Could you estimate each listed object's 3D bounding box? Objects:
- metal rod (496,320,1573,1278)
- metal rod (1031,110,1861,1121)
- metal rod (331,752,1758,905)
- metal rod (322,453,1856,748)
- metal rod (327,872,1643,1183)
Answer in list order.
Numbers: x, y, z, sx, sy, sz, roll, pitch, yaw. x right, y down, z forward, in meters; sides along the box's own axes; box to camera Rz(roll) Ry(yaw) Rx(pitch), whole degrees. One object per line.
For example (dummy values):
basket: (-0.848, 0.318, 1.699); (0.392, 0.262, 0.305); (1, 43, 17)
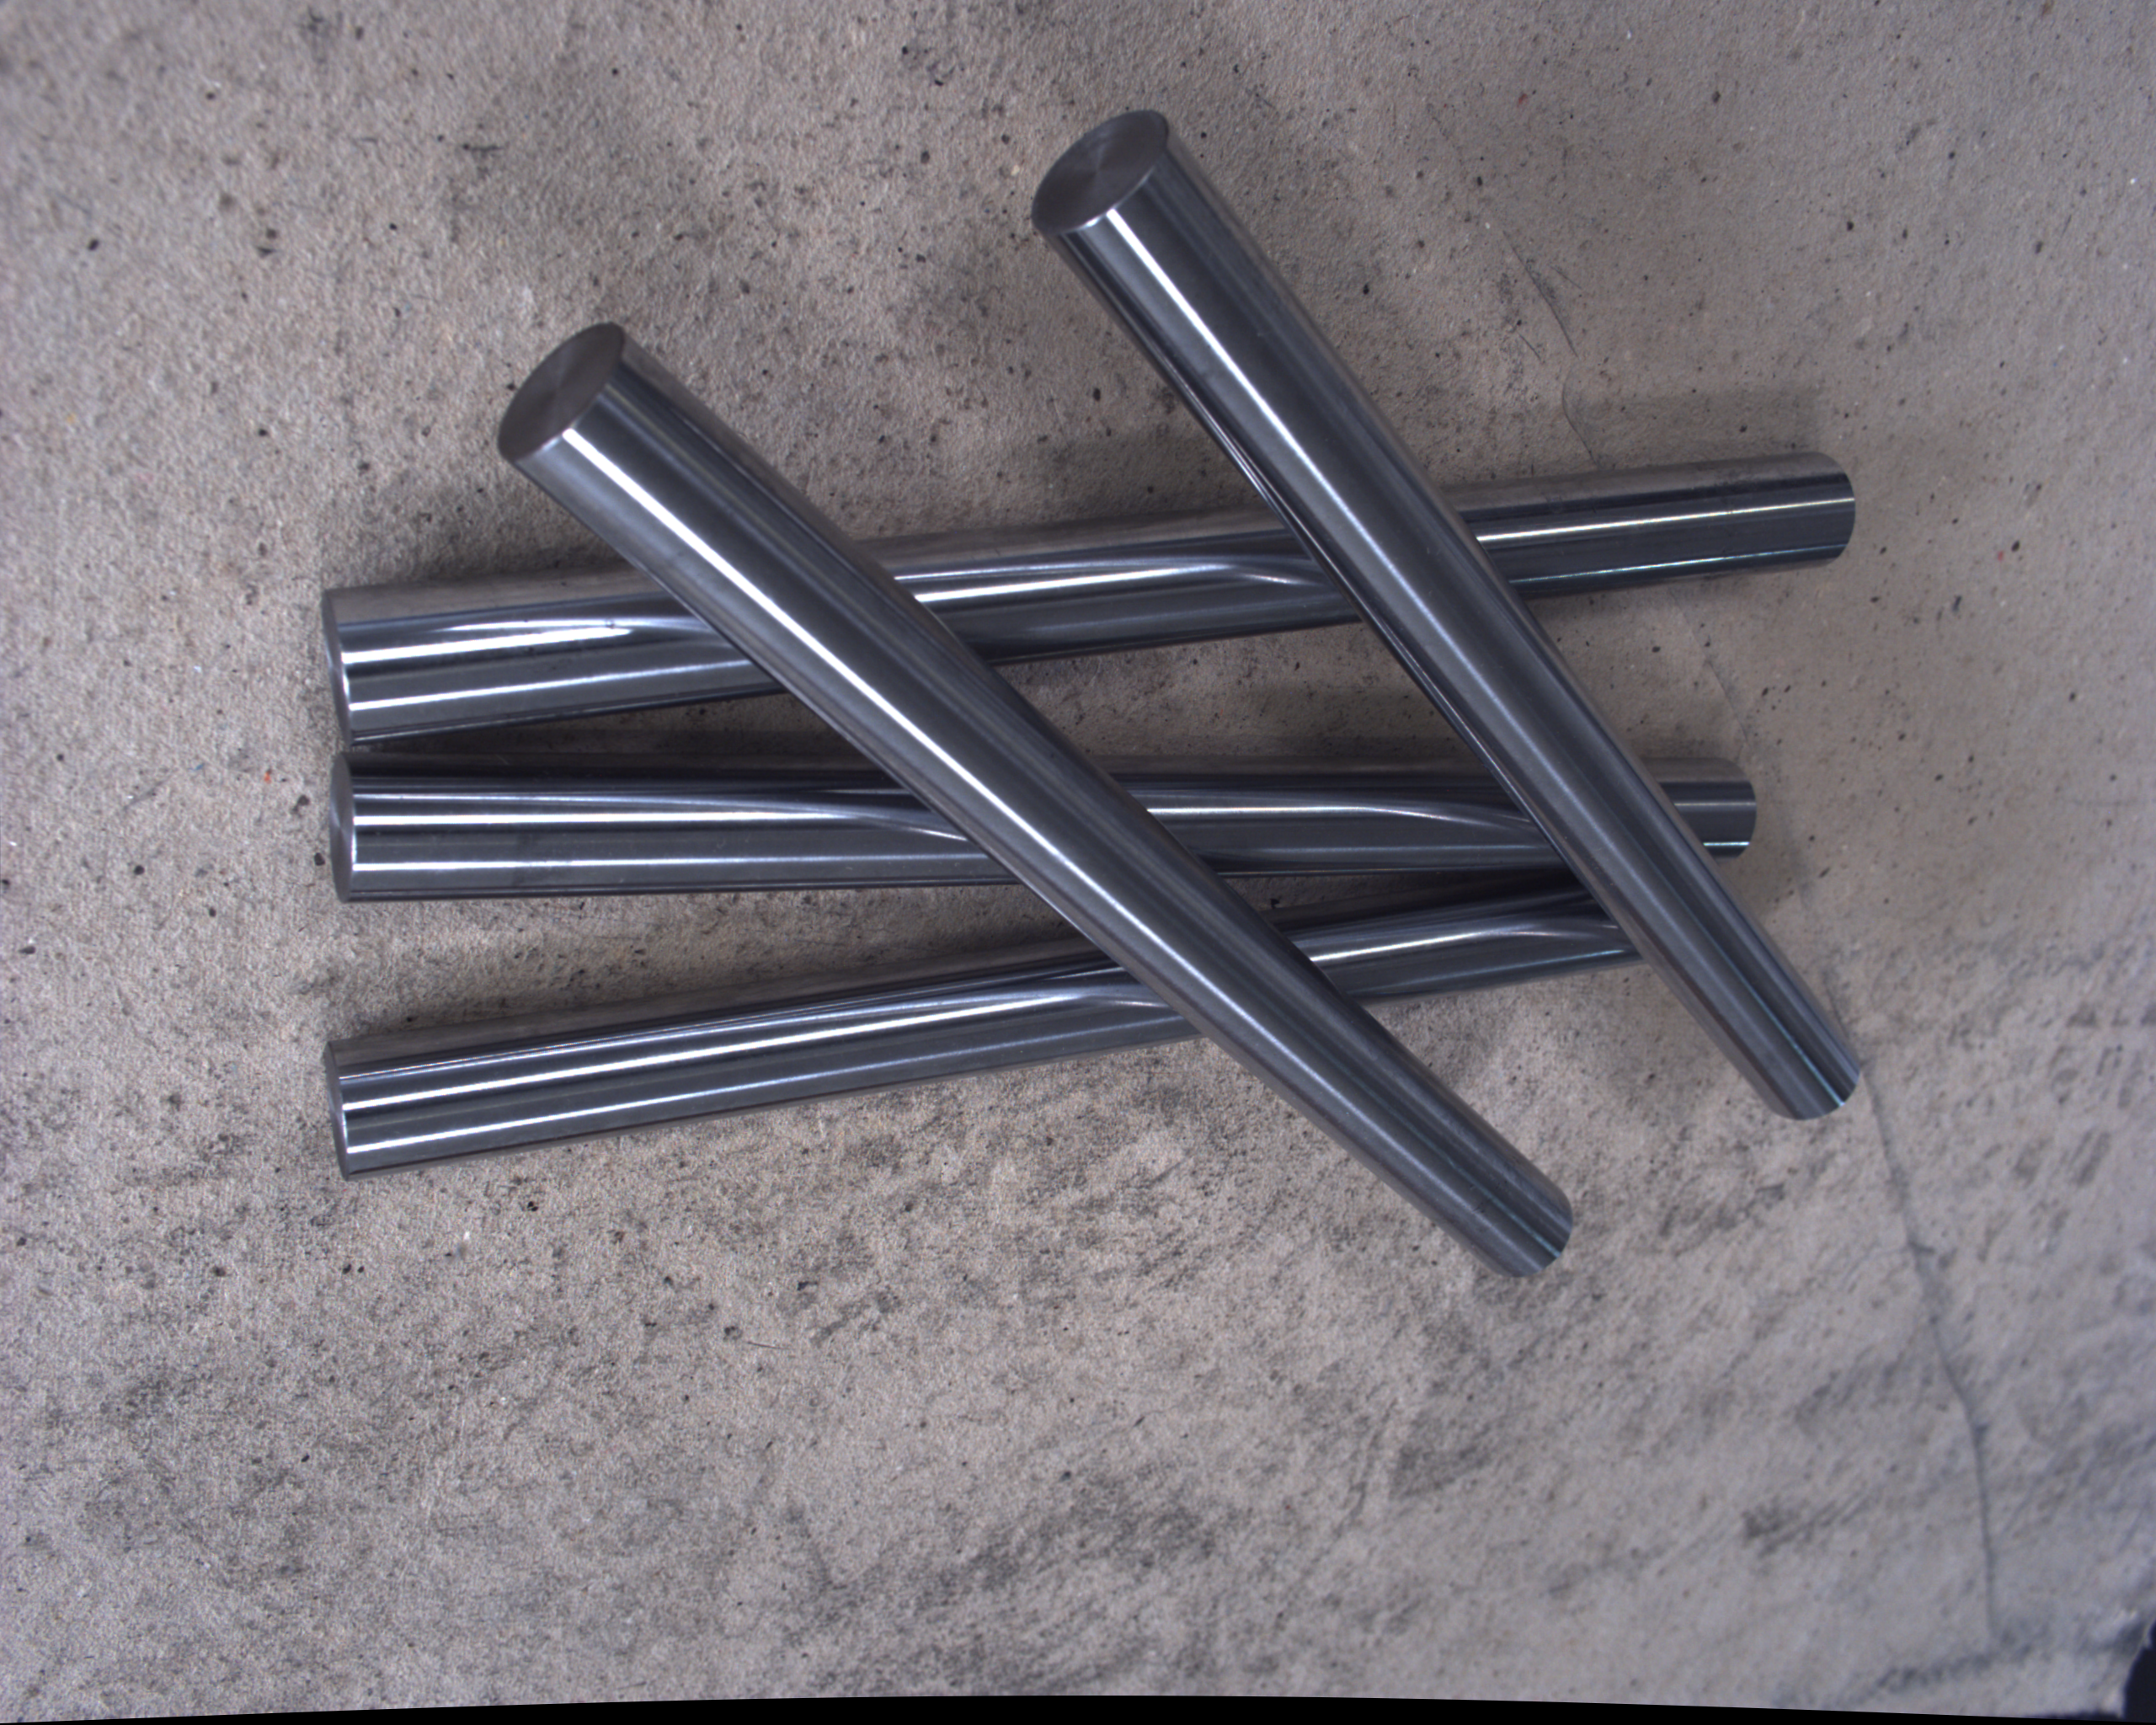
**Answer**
metal rod: (0.015, 0.009, 0.390); (0.025, 0.025, 0.301); (-46, 129, 4)
metal rod: (0.090, -0.026, 0.408); (0.025, 0.025, 0.300); (-45, 129, 3)
metal rod: (0.014, -0.009, 0.410); (0.303, 0.025, 0.025); (-1, 119, -28)
metal rod: (0.021, -0.053, 0.387); (0.303, 0.025, 0.025); (-9, 123, -24)
metal rod: (0.007, 0.027, 0.428); (0.303, 0.025, 0.025); (-7, 122, -25)
